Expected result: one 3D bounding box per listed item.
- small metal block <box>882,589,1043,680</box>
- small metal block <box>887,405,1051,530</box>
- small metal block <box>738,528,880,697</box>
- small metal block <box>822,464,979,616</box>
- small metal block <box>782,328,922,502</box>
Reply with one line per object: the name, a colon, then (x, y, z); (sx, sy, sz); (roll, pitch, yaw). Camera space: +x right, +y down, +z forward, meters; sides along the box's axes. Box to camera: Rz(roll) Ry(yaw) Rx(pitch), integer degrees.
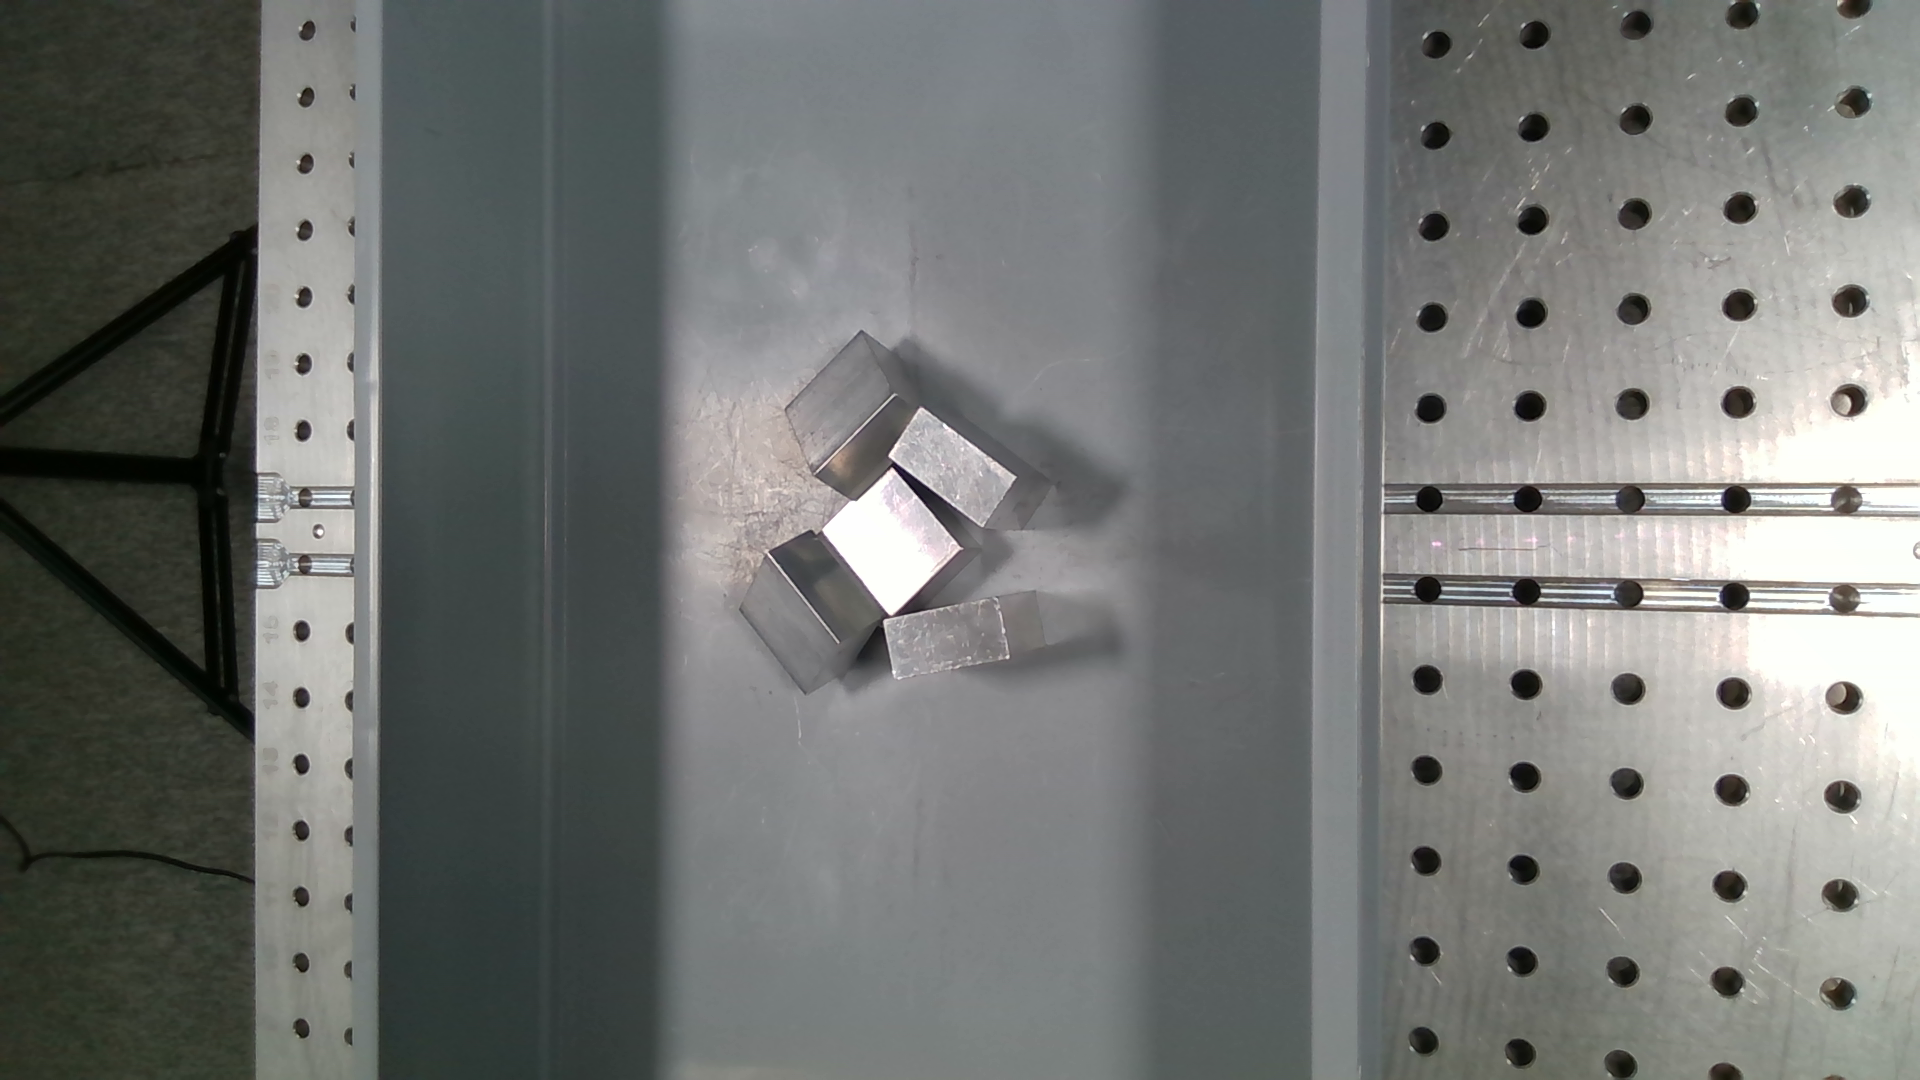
small metal block: (0.002, 0.039, 0.570); (0.050, 0.050, 0.025); (-12, 87, 20)
small metal block: (0.005, -0.029, 0.568); (0.050, 0.050, 0.025); (38, 102, 16)
small metal block: (-0.066, 0.032, 0.595); (0.050, 0.025, 0.050); (50, 142, 13)
small metal block: (-0.028, 0.001, 0.594); (0.050, 0.025, 0.050); (-44, 76, 15)
small metal block: (-0.044, -0.054, 0.588); (0.050, 0.025, 0.050); (-43, 44, 16)
